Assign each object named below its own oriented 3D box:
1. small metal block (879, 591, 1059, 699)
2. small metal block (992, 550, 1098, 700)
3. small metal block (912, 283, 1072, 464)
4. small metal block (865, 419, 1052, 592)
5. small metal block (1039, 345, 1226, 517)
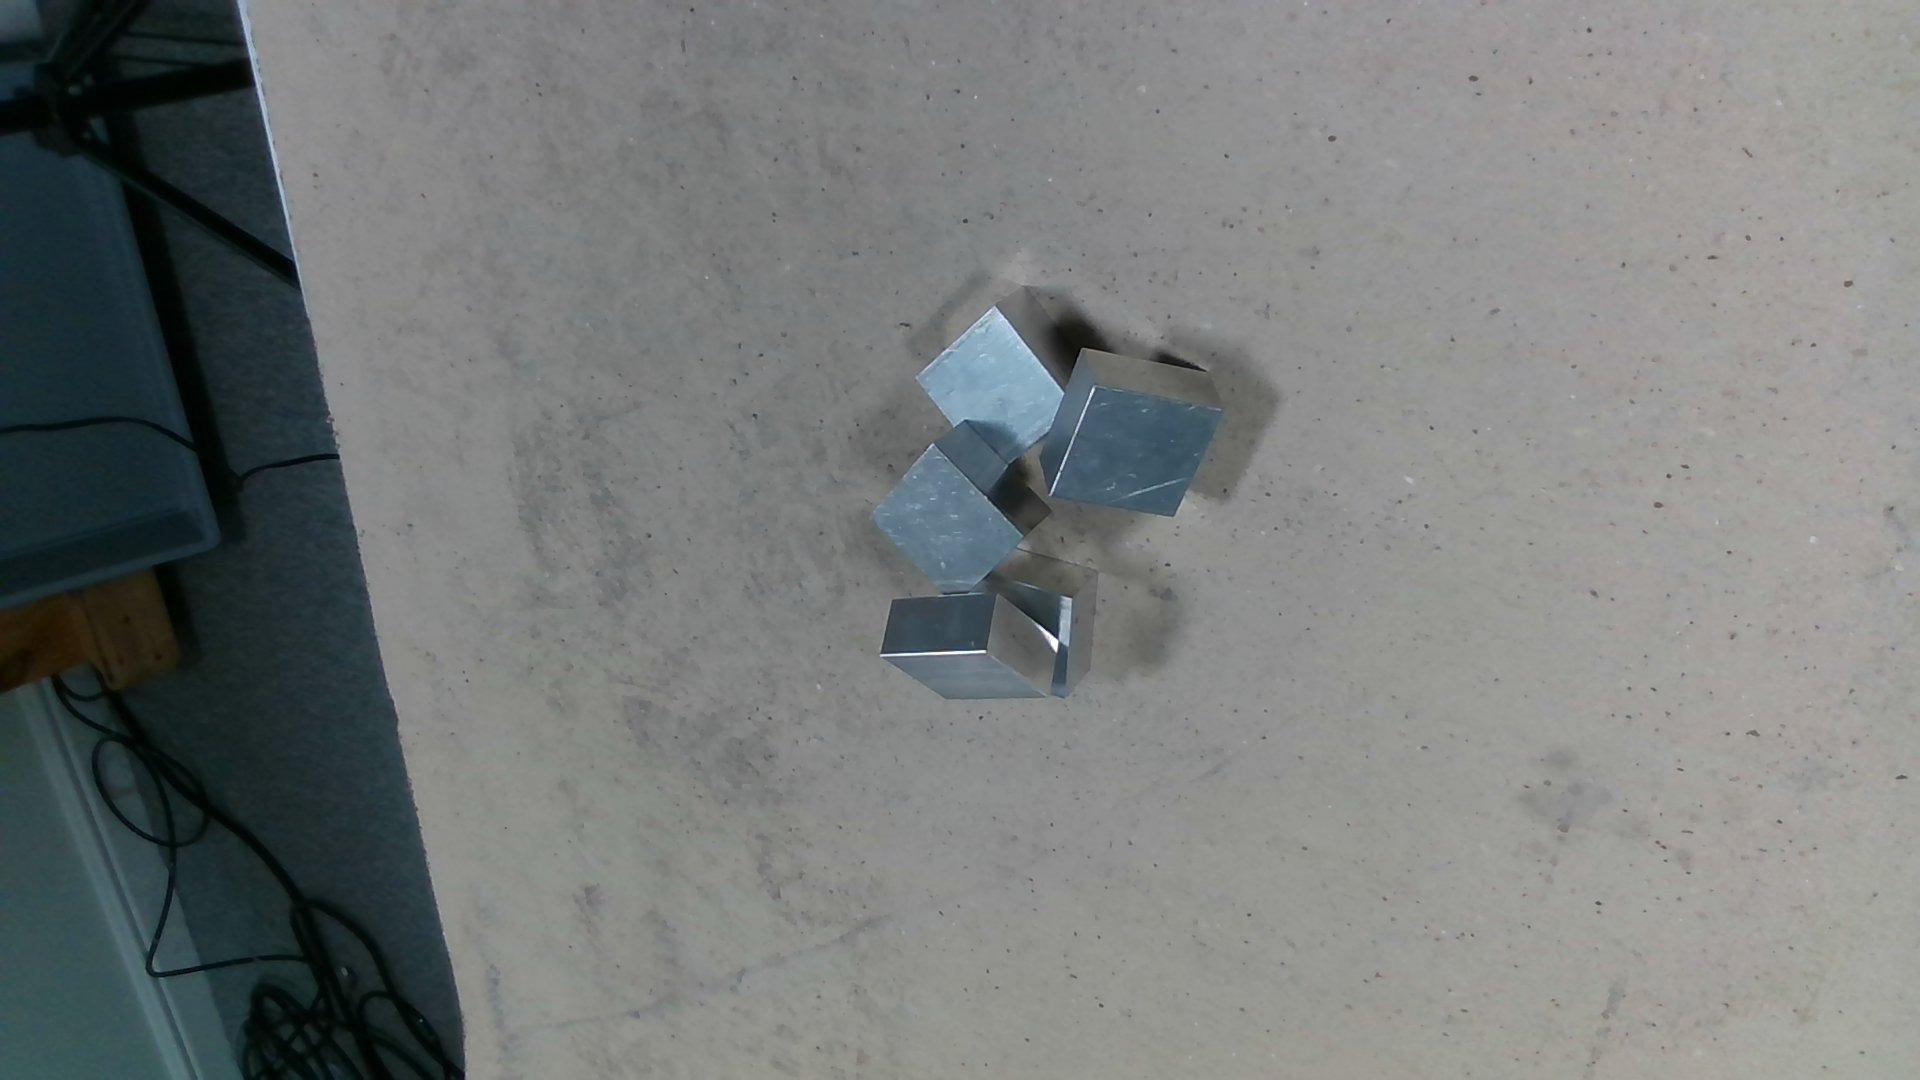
[{"bbox_3d":[0.004,0.043,0.553,0.050,0.025,0.050,-5,152,33],"label":"small metal block"},{"bbox_3d":[0.028,0.033,0.581,0.050,0.025,0.050,16,123,24],"label":"small metal block"},{"bbox_3d":[0.018,-0.062,0.534,0.050,0.025,0.050,51,129,-3],"label":"small metal block"},{"bbox_3d":[-0.001,-0.010,0.542,0.050,0.025,0.050,46,129,2],"label":"small metal block"},{"bbox_3d":[0.062,-0.039,0.505,0.050,0.025,0.050,9,128,-15],"label":"small metal block"}]
